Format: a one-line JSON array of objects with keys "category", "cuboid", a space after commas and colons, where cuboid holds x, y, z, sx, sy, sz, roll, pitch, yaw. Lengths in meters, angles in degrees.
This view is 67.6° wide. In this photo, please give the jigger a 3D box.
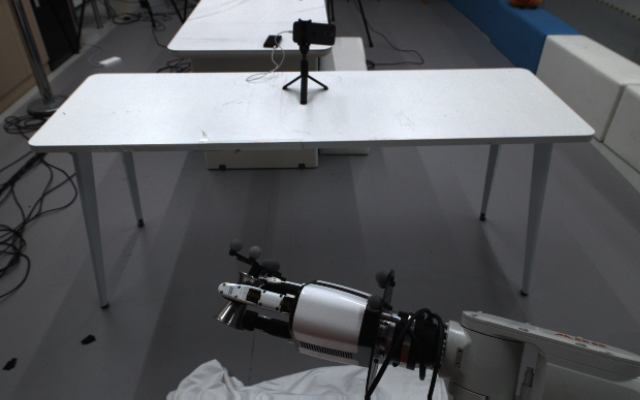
[{"category": "jigger", "cuboid": [-0.107, 0.131, 0.640, 0.043, 0.043, 0.071, 20, 74, 24]}]
